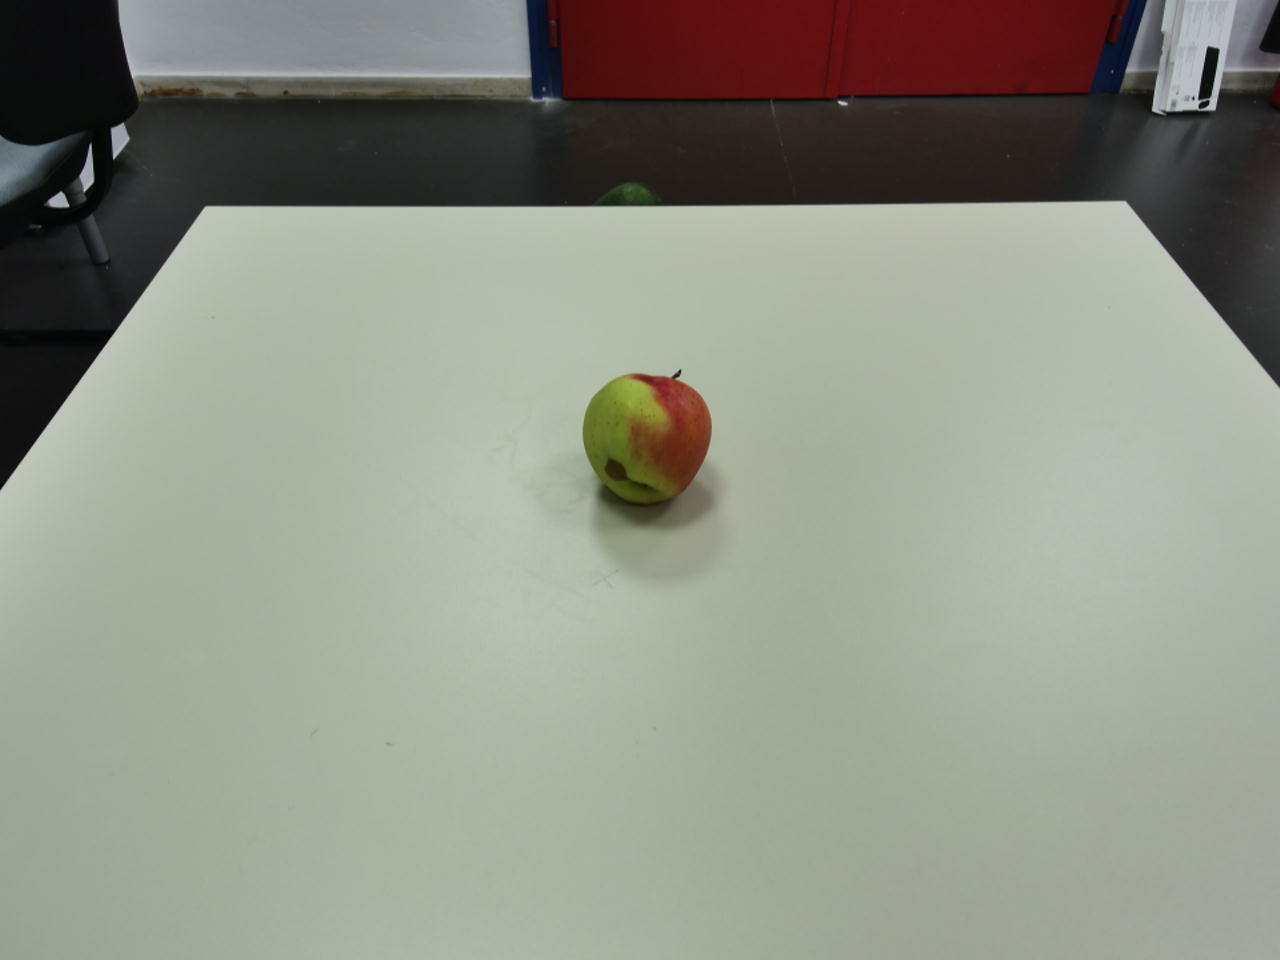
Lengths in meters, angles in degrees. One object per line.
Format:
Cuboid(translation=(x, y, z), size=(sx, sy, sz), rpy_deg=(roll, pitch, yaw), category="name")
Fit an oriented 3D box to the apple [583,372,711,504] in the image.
Cuboid(translation=(0.004, -0.025, 0.575), size=(0.075, 0.074, 0.075), rpy_deg=(-12, 41, -15), category="apple")
